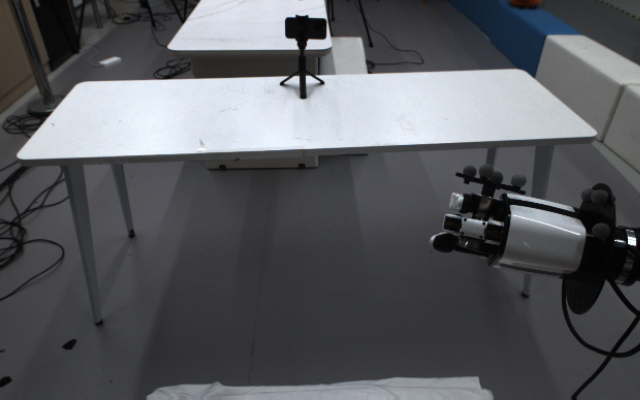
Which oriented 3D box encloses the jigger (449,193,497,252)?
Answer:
[{"bbox_3d":[0.201,0.028,0.611,0.043,0.071,0.043,17,2,-1],"label":"jigger"}]
